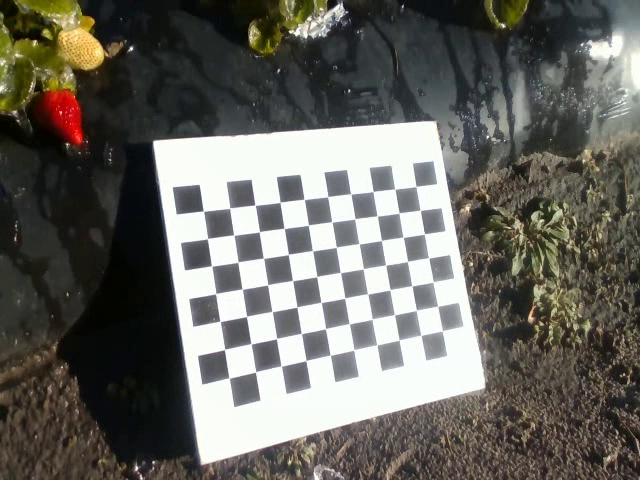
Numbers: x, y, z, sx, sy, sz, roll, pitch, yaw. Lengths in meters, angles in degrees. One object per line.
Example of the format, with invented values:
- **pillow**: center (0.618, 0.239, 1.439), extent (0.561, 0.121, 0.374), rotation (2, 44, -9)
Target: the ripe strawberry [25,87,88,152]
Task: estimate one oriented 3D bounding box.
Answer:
- **ripe strawberry**: center (-0.209, -0.095, 0.499), extent (0.041, 0.052, 0.040), rotation (-27, -4, -23)
